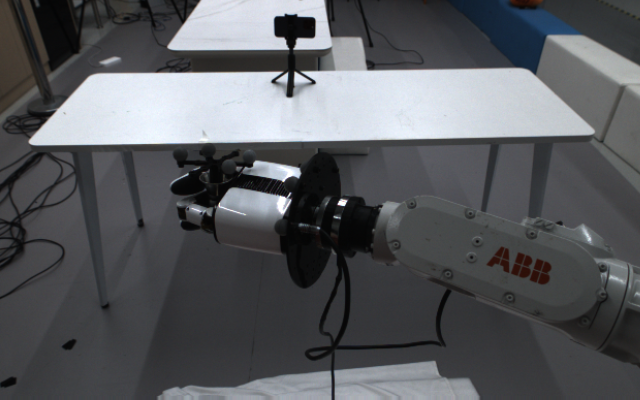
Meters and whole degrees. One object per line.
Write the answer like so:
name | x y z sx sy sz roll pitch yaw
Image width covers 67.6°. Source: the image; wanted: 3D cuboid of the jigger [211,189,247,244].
jigger | -0.124 0.002 0.605 0.043 0.071 0.043 3 25 -1
